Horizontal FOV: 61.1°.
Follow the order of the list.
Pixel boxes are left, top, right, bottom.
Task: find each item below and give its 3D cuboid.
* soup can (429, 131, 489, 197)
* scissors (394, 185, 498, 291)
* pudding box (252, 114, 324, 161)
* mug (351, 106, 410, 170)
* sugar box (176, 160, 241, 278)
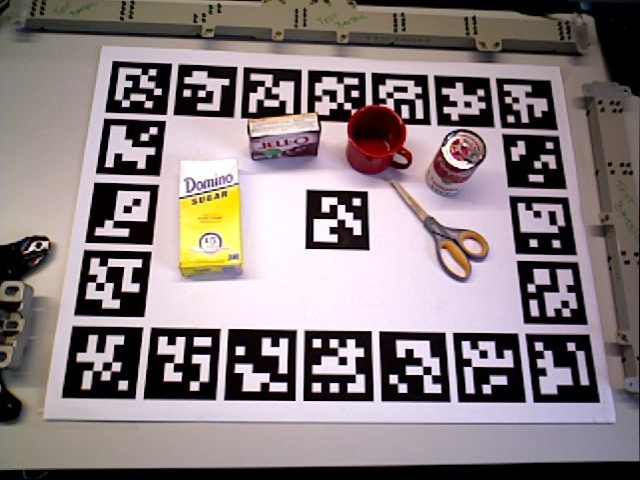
[{"bbox_3d":[0.214,-0.118,0.846,0.067,0.103,0.067,1,72,-3],"label":"soup can"},{"bbox_3d":[0.189,-0.016,0.852,0.087,0.016,0.202,-42,82,-3],"label":"scissors"},{"bbox_3d":[-0.049,-0.162,0.839,0.113,0.091,0.038,-8,80,-6],"label":"pudding box"},{"bbox_3d":[0.099,-0.158,0.853,0.092,0.082,0.117,-35,77,-10],"label":"mug"},{"bbox_3d":[-0.170,-0.033,0.828,0.092,0.046,0.175,-2,76,-2],"label":"sugar box"}]
